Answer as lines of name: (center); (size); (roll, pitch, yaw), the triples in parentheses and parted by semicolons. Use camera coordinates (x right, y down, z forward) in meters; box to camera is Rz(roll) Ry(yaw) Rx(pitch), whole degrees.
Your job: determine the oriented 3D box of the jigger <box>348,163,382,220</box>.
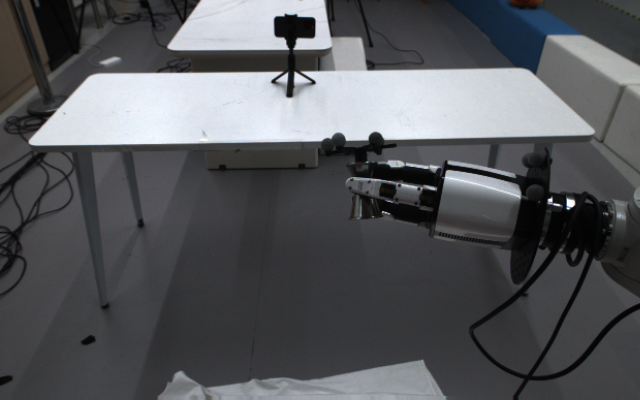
jigger: (0.053, -0.012, 0.596); (0.043, 0.071, 0.043); (-4, 1, 0)
